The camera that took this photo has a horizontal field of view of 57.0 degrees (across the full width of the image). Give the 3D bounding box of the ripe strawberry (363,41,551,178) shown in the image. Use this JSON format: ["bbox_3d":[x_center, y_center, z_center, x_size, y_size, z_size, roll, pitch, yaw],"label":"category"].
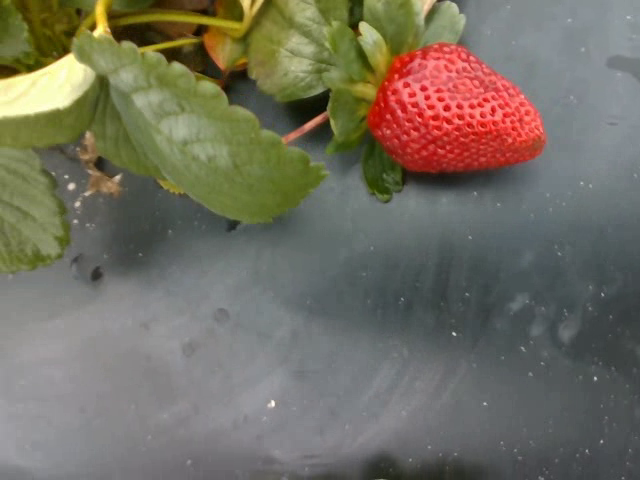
[{"bbox_3d":[0.044,-0.038,0.191,0.064,0.046,0.048,31,61,32],"label":"ripe strawberry"}]
